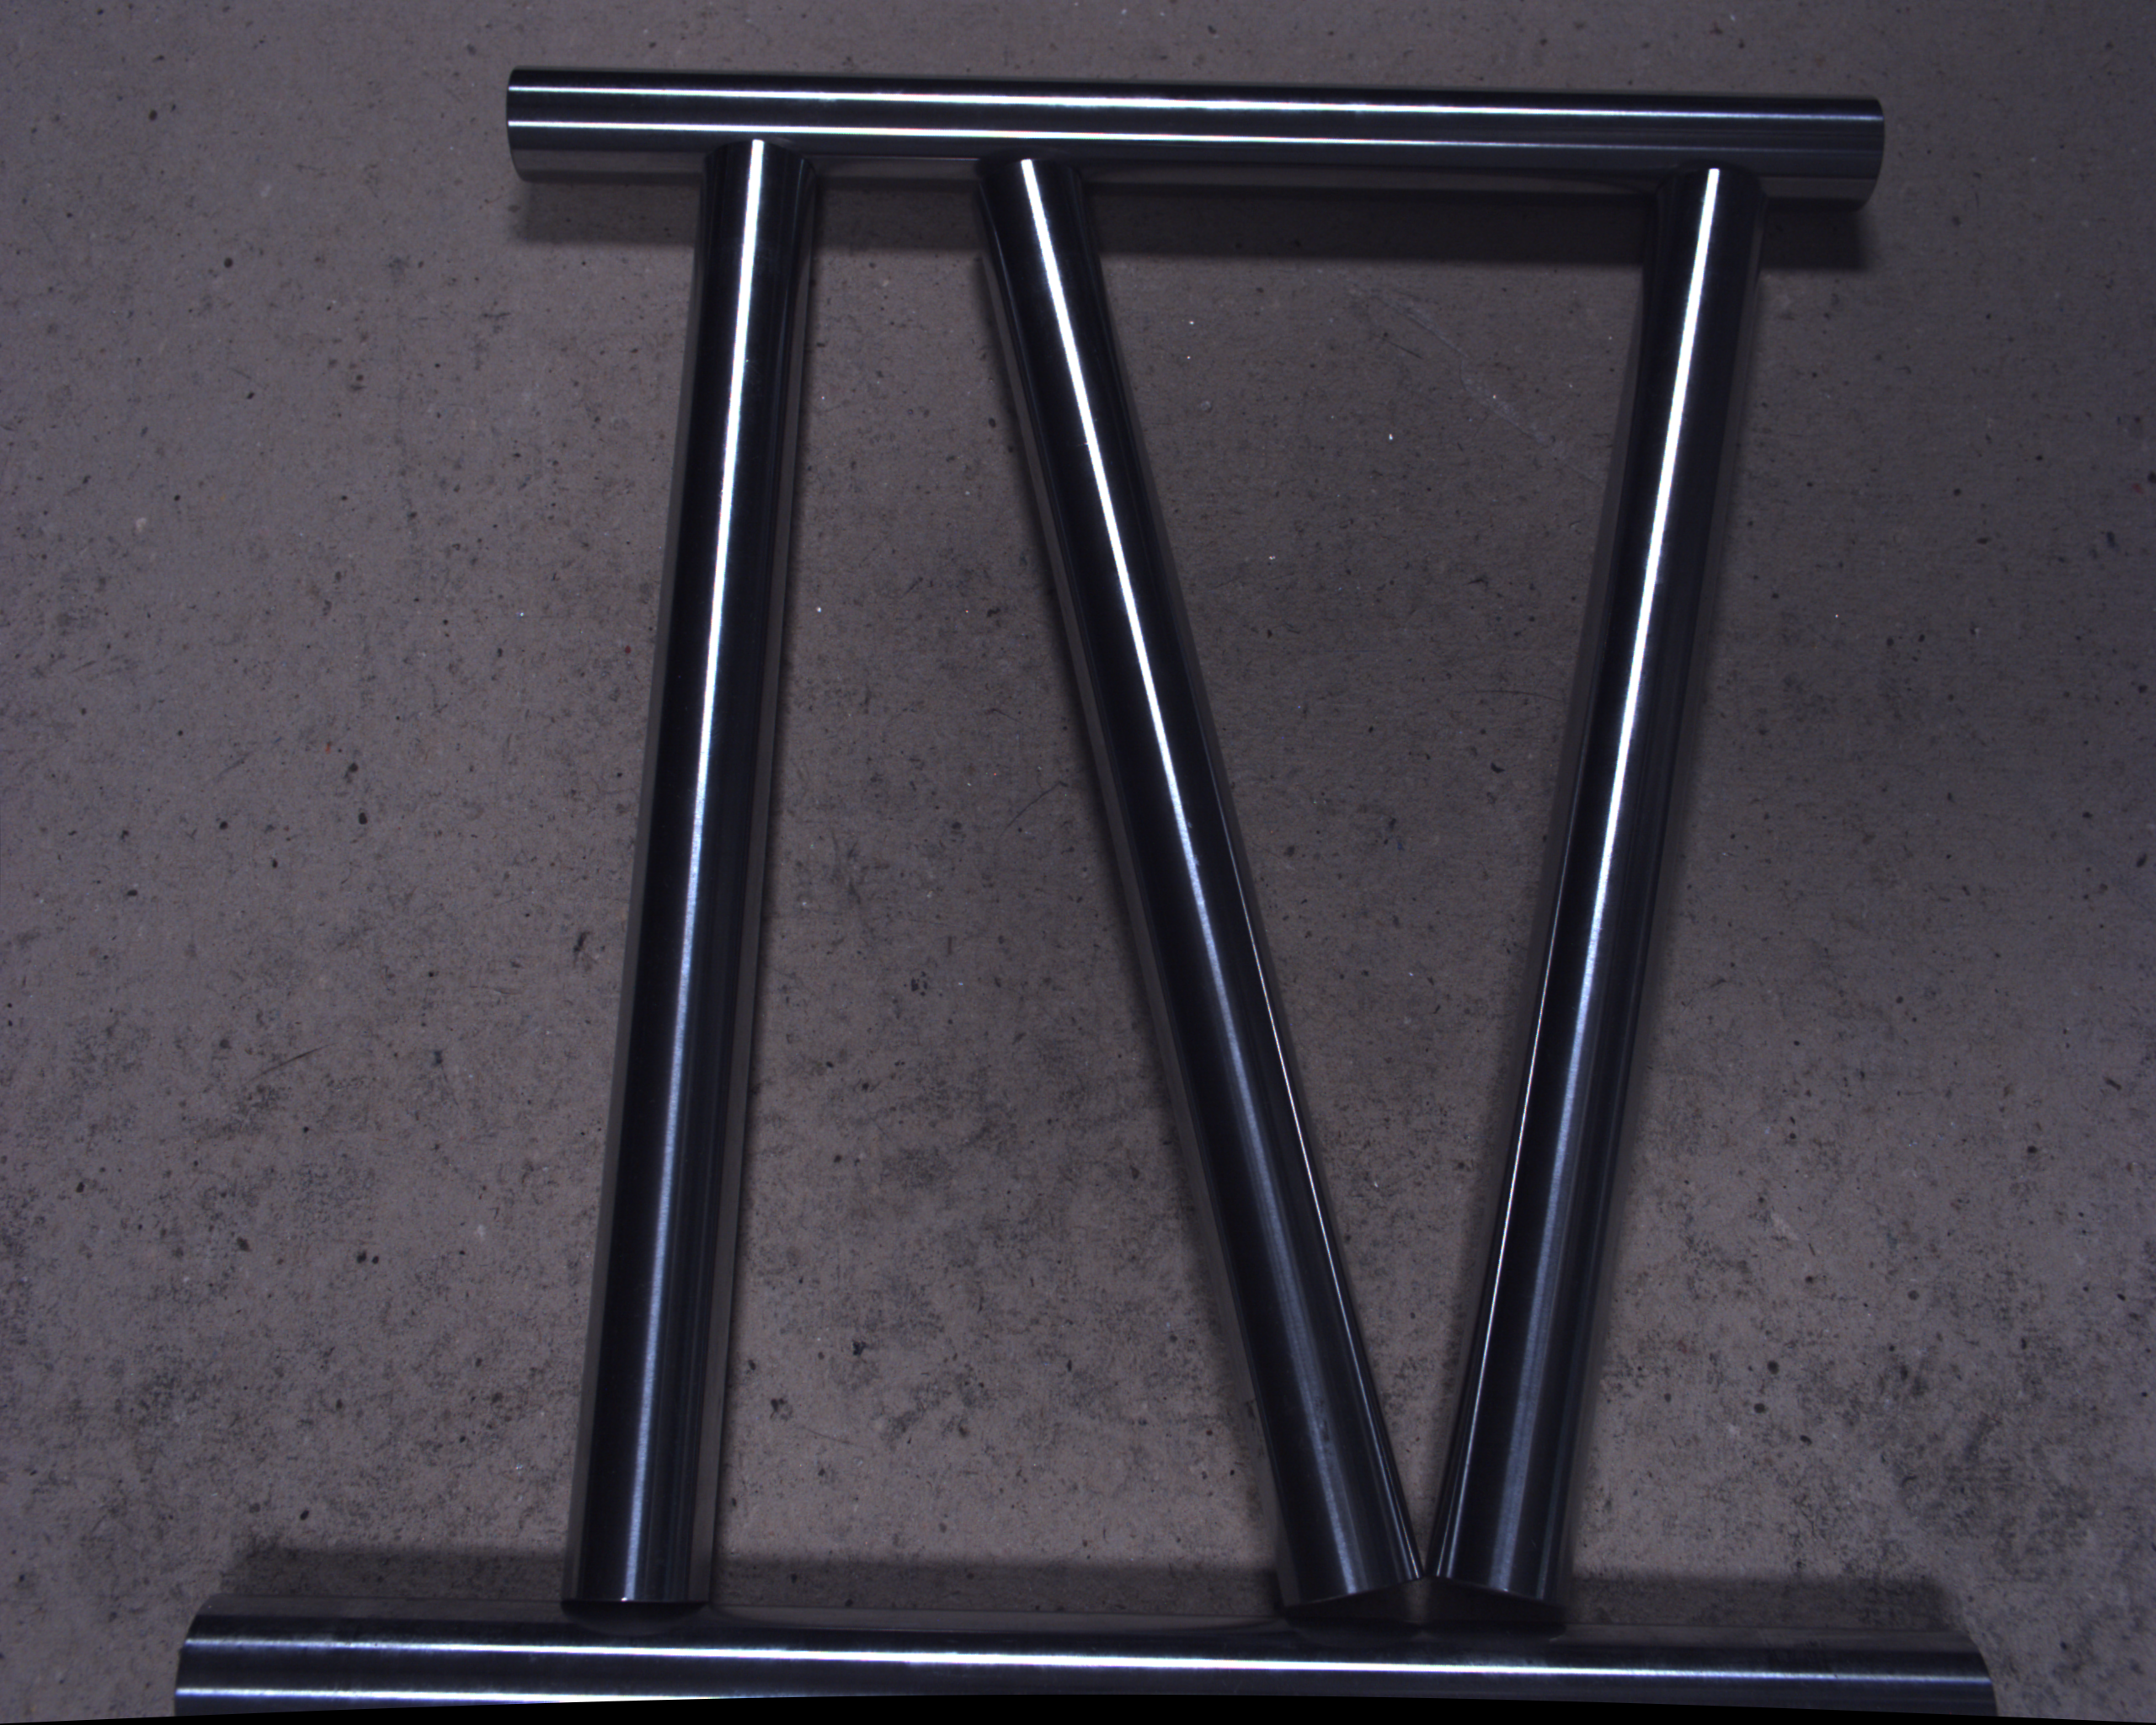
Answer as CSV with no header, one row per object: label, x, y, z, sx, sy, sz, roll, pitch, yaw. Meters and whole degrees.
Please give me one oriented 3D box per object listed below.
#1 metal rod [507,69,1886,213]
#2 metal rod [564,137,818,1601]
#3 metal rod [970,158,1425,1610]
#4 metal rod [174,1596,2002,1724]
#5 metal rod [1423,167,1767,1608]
metal rod,0.026,-0.162,0.469,0.302,0.025,0.025,1,70,0
metal rod,-0.073,-0.013,0.412,0.025,0.025,0.299,1,70,0
metal rod,0.018,-0.010,0.412,0.025,0.025,0.299,-11,70,-4
metal rod,0.002,0.141,0.357,0.302,0.025,0.025,1,70,0
metal rod,0.106,-0.010,0.413,0.025,0.025,0.299,13,70,4
